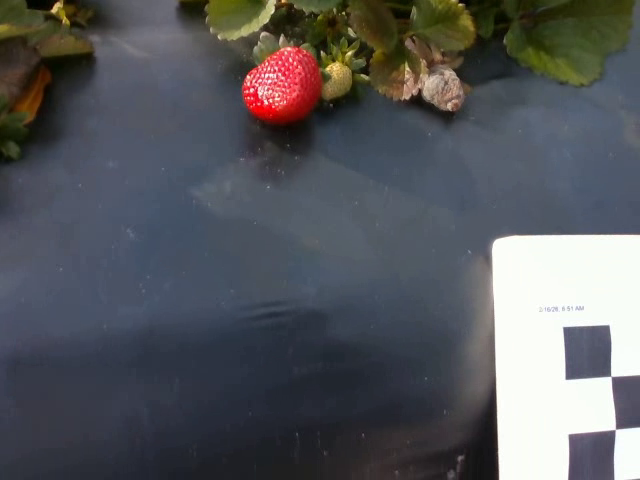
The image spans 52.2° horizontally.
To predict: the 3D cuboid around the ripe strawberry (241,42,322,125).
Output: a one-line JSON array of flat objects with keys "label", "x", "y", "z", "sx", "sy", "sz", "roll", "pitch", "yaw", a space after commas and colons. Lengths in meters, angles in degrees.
[{"label": "ripe strawberry", "x": -0.018, "y": -0.075, "z": 0.324, "sx": 0.045, "sy": 0.051, "sz": 0.058, "roll": 3, "pitch": 34, "yaw": -12}]
